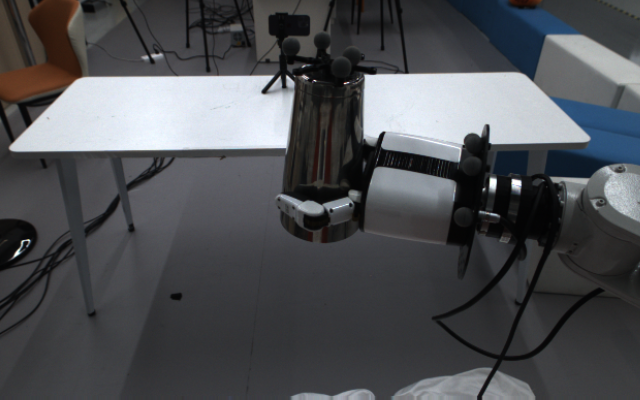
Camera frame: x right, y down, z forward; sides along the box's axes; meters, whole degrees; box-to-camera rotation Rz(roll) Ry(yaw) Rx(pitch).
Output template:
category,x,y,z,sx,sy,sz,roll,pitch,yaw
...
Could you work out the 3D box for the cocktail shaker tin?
category,x,y,z,sx,sy,sz,roll,pitch,yaw
cocktail shaker tin,0.007,-0.050,0.506,0.093,0.170,0.093,2,34,-2
